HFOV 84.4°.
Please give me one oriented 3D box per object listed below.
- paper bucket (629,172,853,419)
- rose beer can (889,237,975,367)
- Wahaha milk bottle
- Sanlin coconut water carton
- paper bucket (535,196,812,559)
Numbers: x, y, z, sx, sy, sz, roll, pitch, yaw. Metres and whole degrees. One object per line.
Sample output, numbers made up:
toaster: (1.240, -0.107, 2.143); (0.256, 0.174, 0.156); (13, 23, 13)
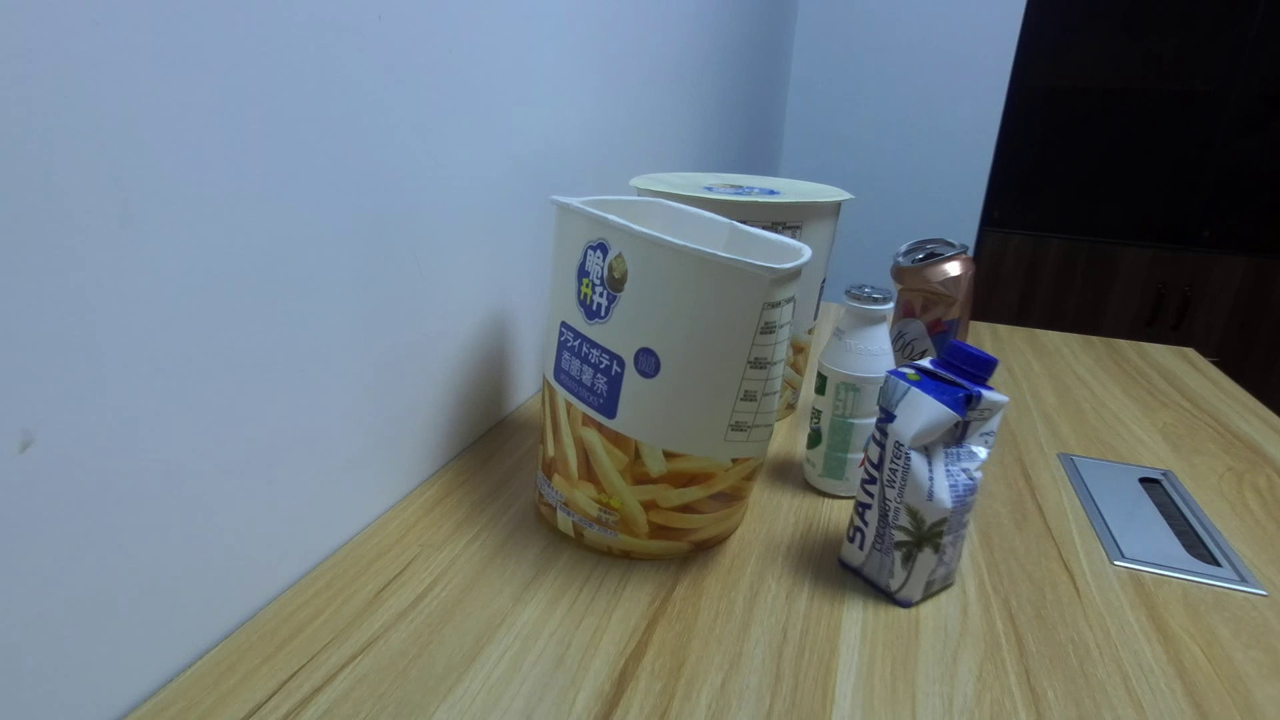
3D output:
paper bucket: (0.078, -0.059, 0.637); (0.198, 0.194, 0.198); (3, 21, -1)
rose beer can: (0.233, -0.014, 0.582); (0.069, 0.168, 0.070); (14, 29, 31)
Wahaha milk bottle: (0.149, 0.022, 0.495); (0.053, 0.147, 0.053); (2, 21, -1)
Sanlin coconut water carton: (0.160, 0.061, 0.397); (0.070, 0.143, 0.060); (-8, 24, -32)
paper bucket: (0.007, 0.001, 0.454); (0.217, 0.199, 0.148); (16, 24, 31)
